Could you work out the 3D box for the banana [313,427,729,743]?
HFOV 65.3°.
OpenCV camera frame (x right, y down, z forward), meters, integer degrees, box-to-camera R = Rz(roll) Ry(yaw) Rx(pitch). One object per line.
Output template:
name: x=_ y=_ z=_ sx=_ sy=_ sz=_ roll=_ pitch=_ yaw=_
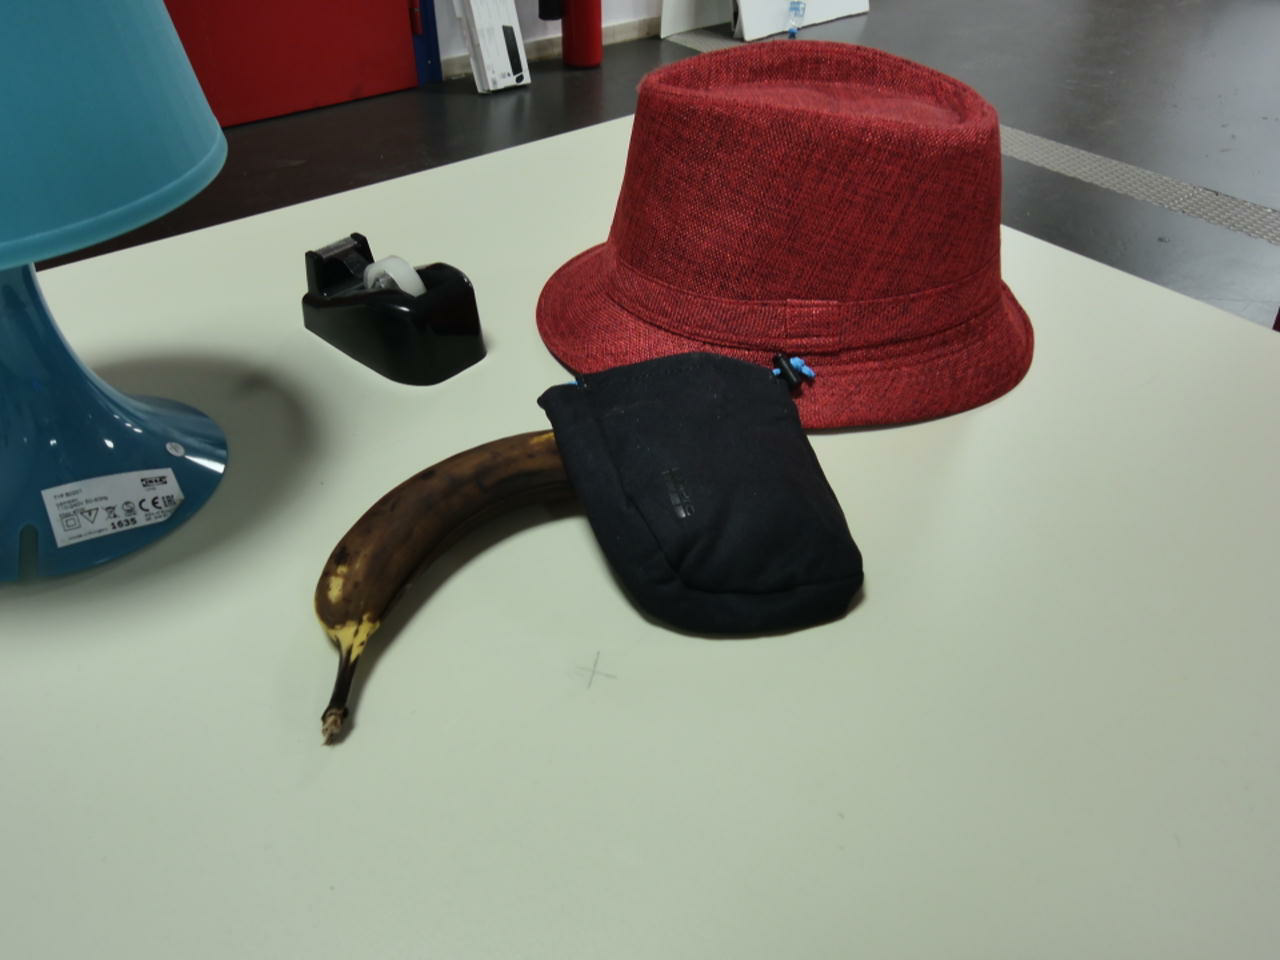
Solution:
banana: x=-0.059 y=0.019 z=0.399 sx=0.188 sy=0.034 sz=0.091 roll=-26 pitch=44 yaw=-30
